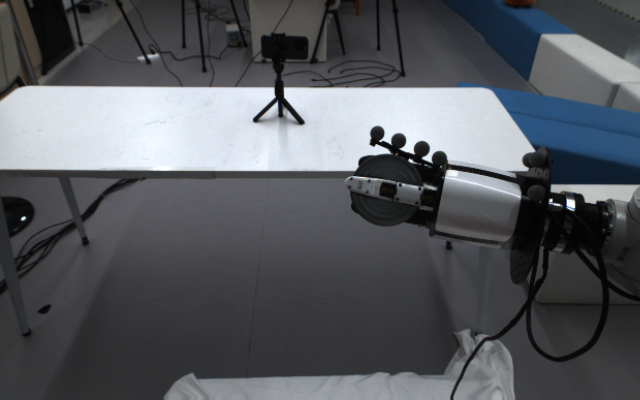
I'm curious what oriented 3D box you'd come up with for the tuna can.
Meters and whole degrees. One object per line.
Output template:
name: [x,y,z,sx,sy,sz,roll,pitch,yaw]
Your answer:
tuna can: [0.083,-0.014,0.583,0.085,0.085,0.034,13,2,16]
